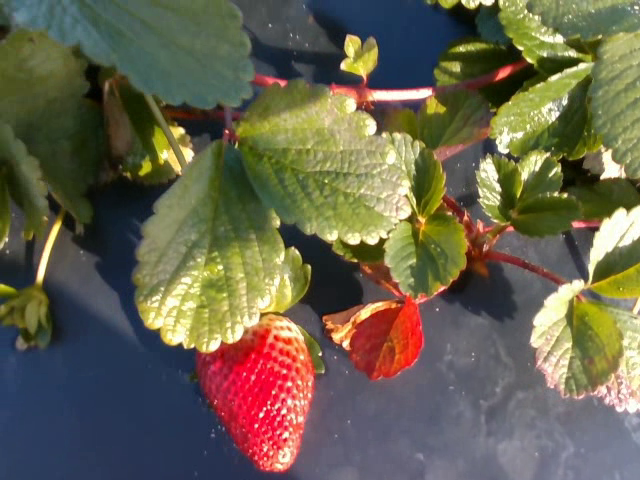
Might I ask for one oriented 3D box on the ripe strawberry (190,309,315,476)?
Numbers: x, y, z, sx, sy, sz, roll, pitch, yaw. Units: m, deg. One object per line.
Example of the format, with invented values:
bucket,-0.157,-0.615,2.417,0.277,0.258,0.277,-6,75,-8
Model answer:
ripe strawberry,-0.021,0.049,0.193,0.041,0.056,0.041,-29,-37,17
